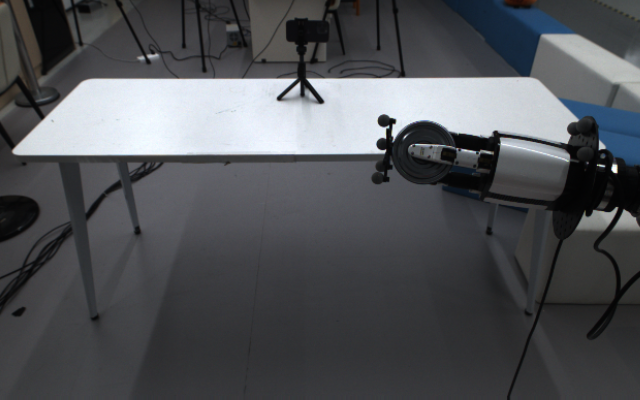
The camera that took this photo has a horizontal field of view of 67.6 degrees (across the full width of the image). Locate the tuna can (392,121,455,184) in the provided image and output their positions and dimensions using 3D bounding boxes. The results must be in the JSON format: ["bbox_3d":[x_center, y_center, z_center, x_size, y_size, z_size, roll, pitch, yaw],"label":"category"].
[{"bbox_3d":[0.143,-0.067,0.659,0.085,0.085,0.034,10,2,11],"label":"tuna can"}]
